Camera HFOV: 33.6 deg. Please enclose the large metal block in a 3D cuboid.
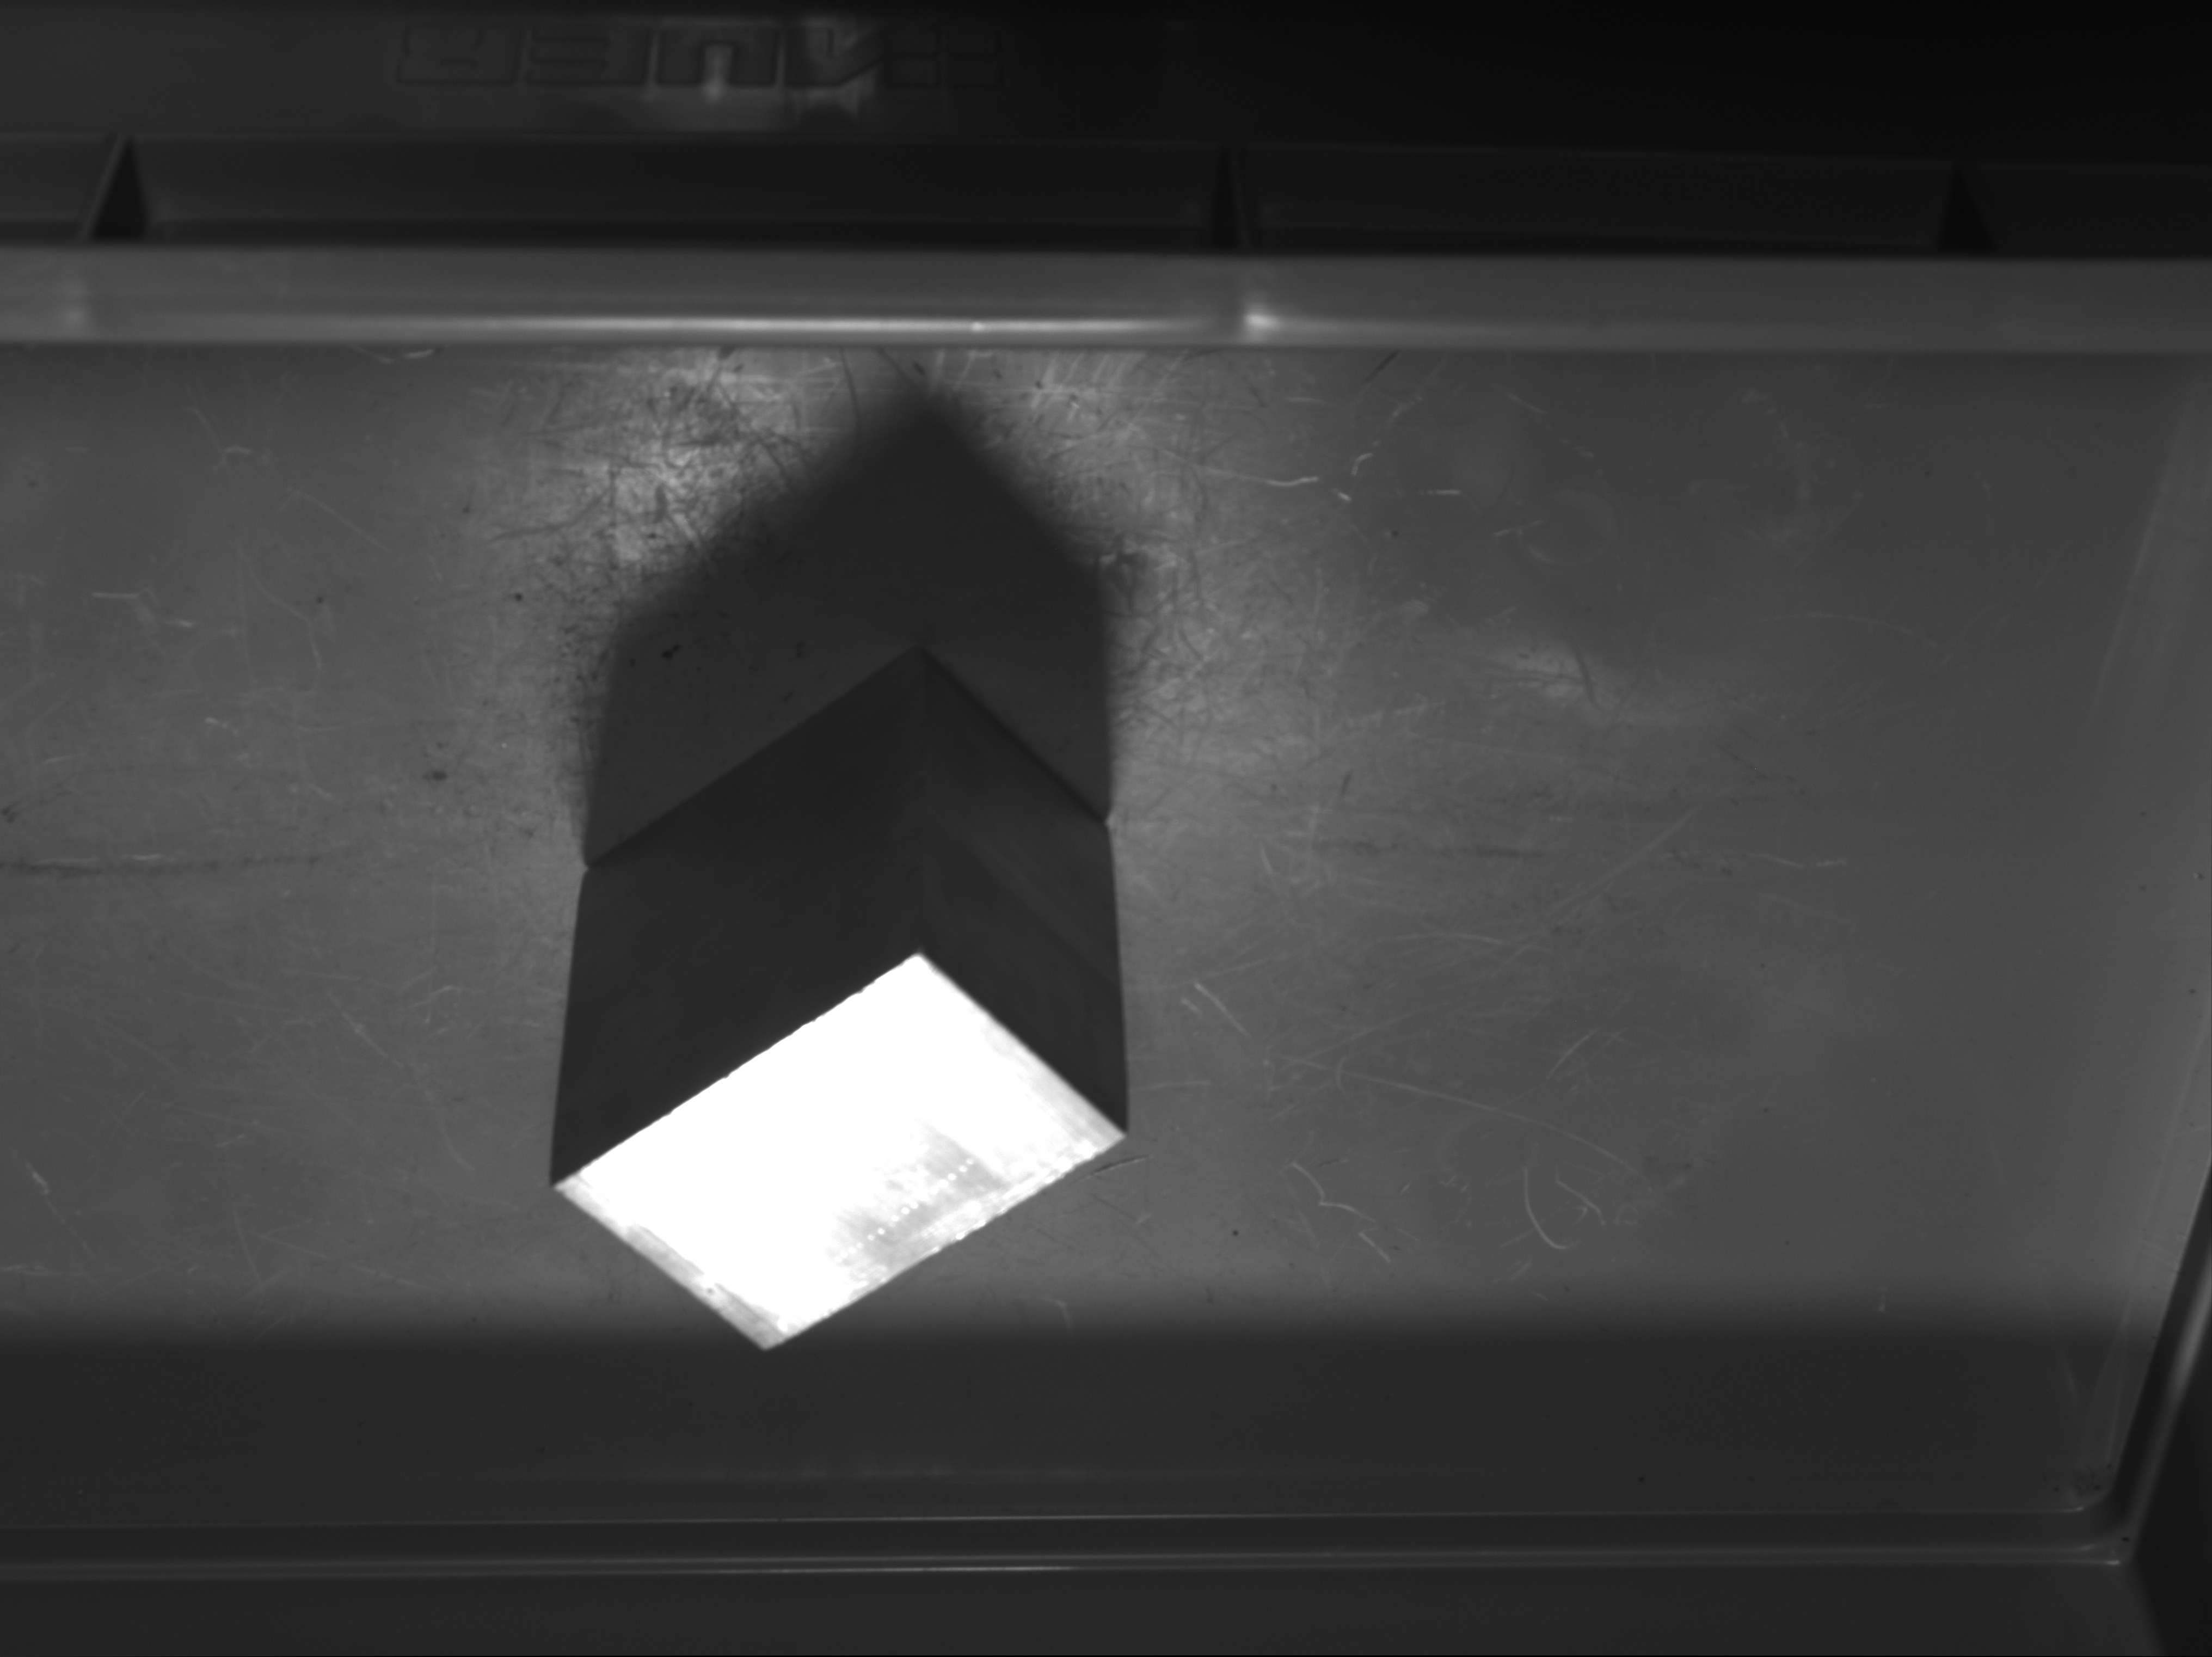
[{"bbox_3d":[-0.036,0.029,0.622,0.080,0.080,0.050,-32,124,23],"label":"large metal block"}]
